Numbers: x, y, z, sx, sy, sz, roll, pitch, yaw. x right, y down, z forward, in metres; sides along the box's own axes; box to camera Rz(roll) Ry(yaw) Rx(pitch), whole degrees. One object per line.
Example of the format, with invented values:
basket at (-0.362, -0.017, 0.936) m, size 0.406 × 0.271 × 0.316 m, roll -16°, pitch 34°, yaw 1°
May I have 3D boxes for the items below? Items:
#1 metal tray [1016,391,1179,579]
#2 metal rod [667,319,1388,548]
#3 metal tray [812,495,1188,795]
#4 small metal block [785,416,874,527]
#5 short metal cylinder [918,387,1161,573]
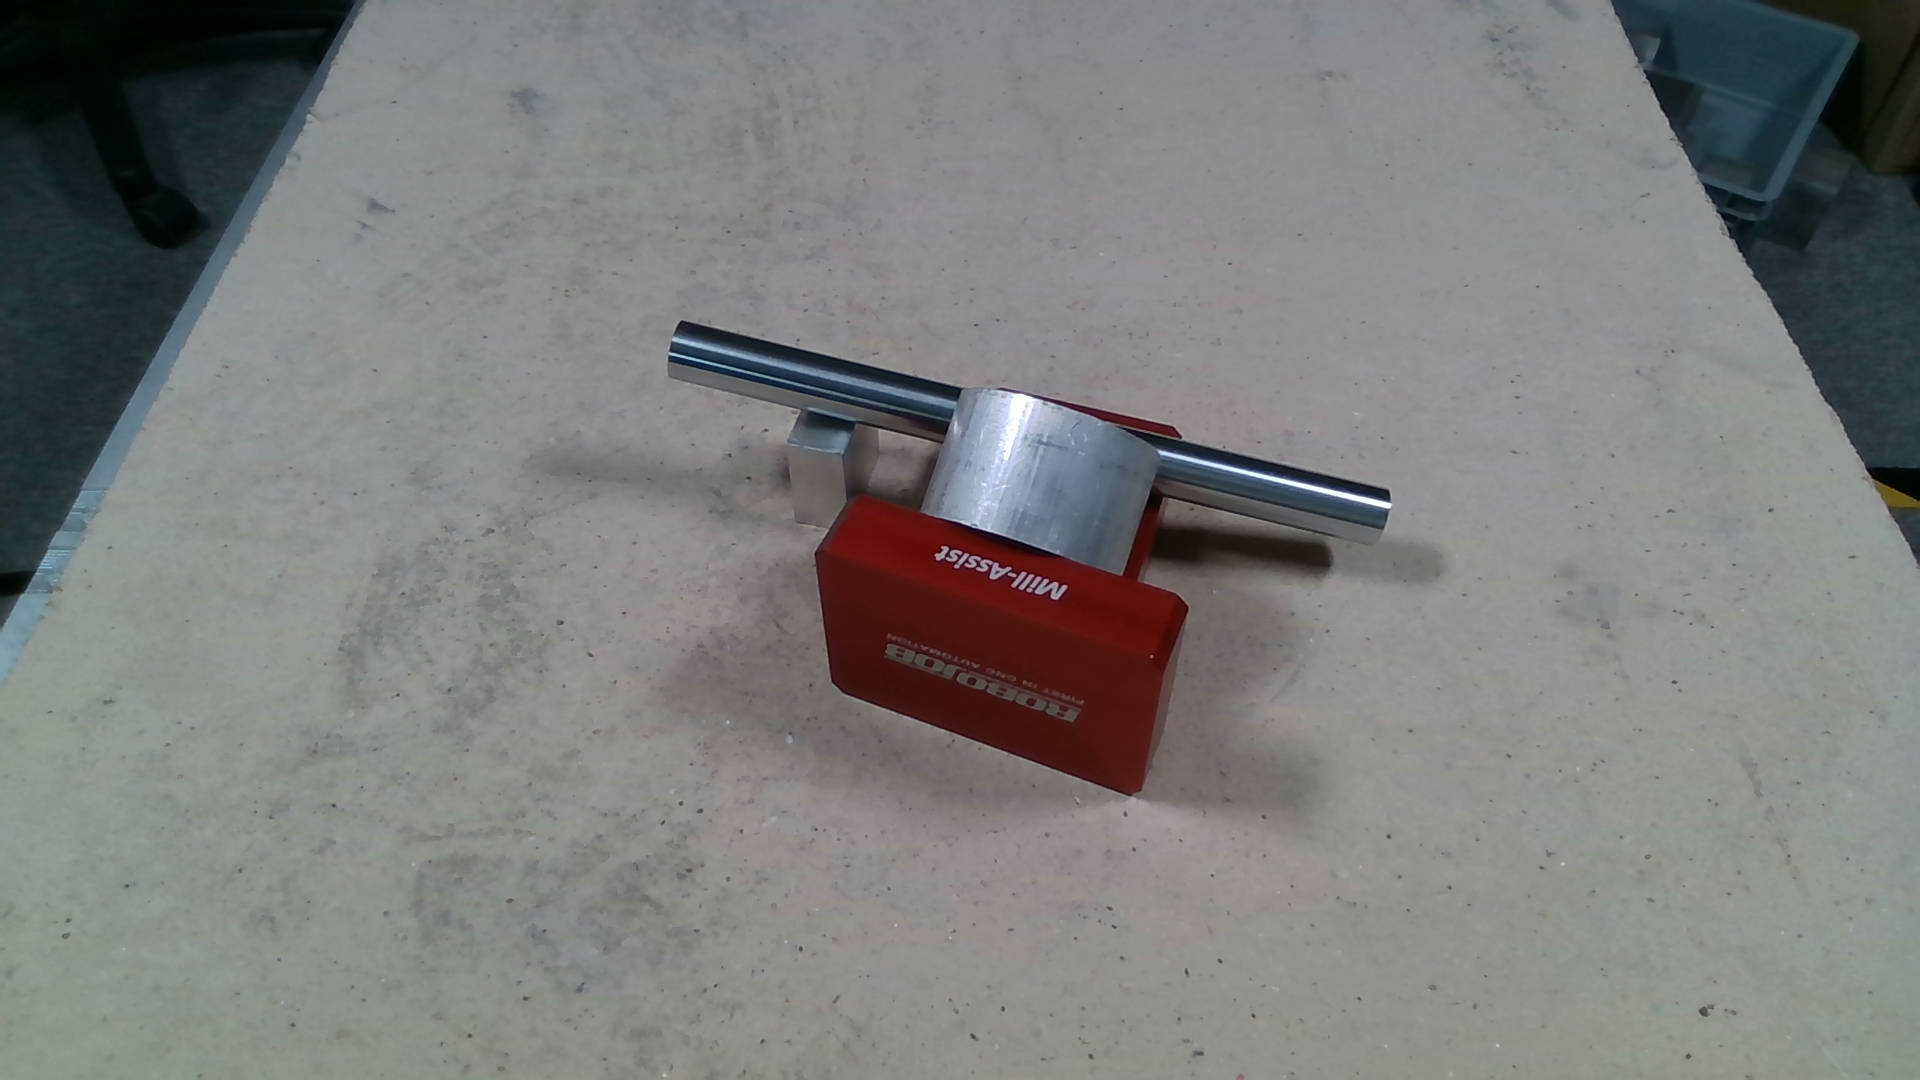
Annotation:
metal tray at (0.036, -0.004, 0.586) m, size 0.090 × 0.030 × 0.130 m, roll 14°, pitch 52°, yaw 12°
metal rod at (0.028, -0.044, 0.573) m, size 0.300 × 0.025 × 0.025 m, roll 14°, pitch 51°, yaw 0°
metal tray at (0.013, 0.040, 0.511) m, size 0.130 × 0.090 × 0.030 m, roll 18°, pitch 52°, yaw 14°
small metal block at (-0.055, -0.040, 0.604) m, size 0.025 × 0.050 × 0.050 m, roll 10°, pitch 51°, yaw 8°
short metal cylinder at (0.029, -0.019, 0.519) m, size 0.080 × 0.080 × 0.050 m, roll 18°, pitch 85°, yaw 14°
